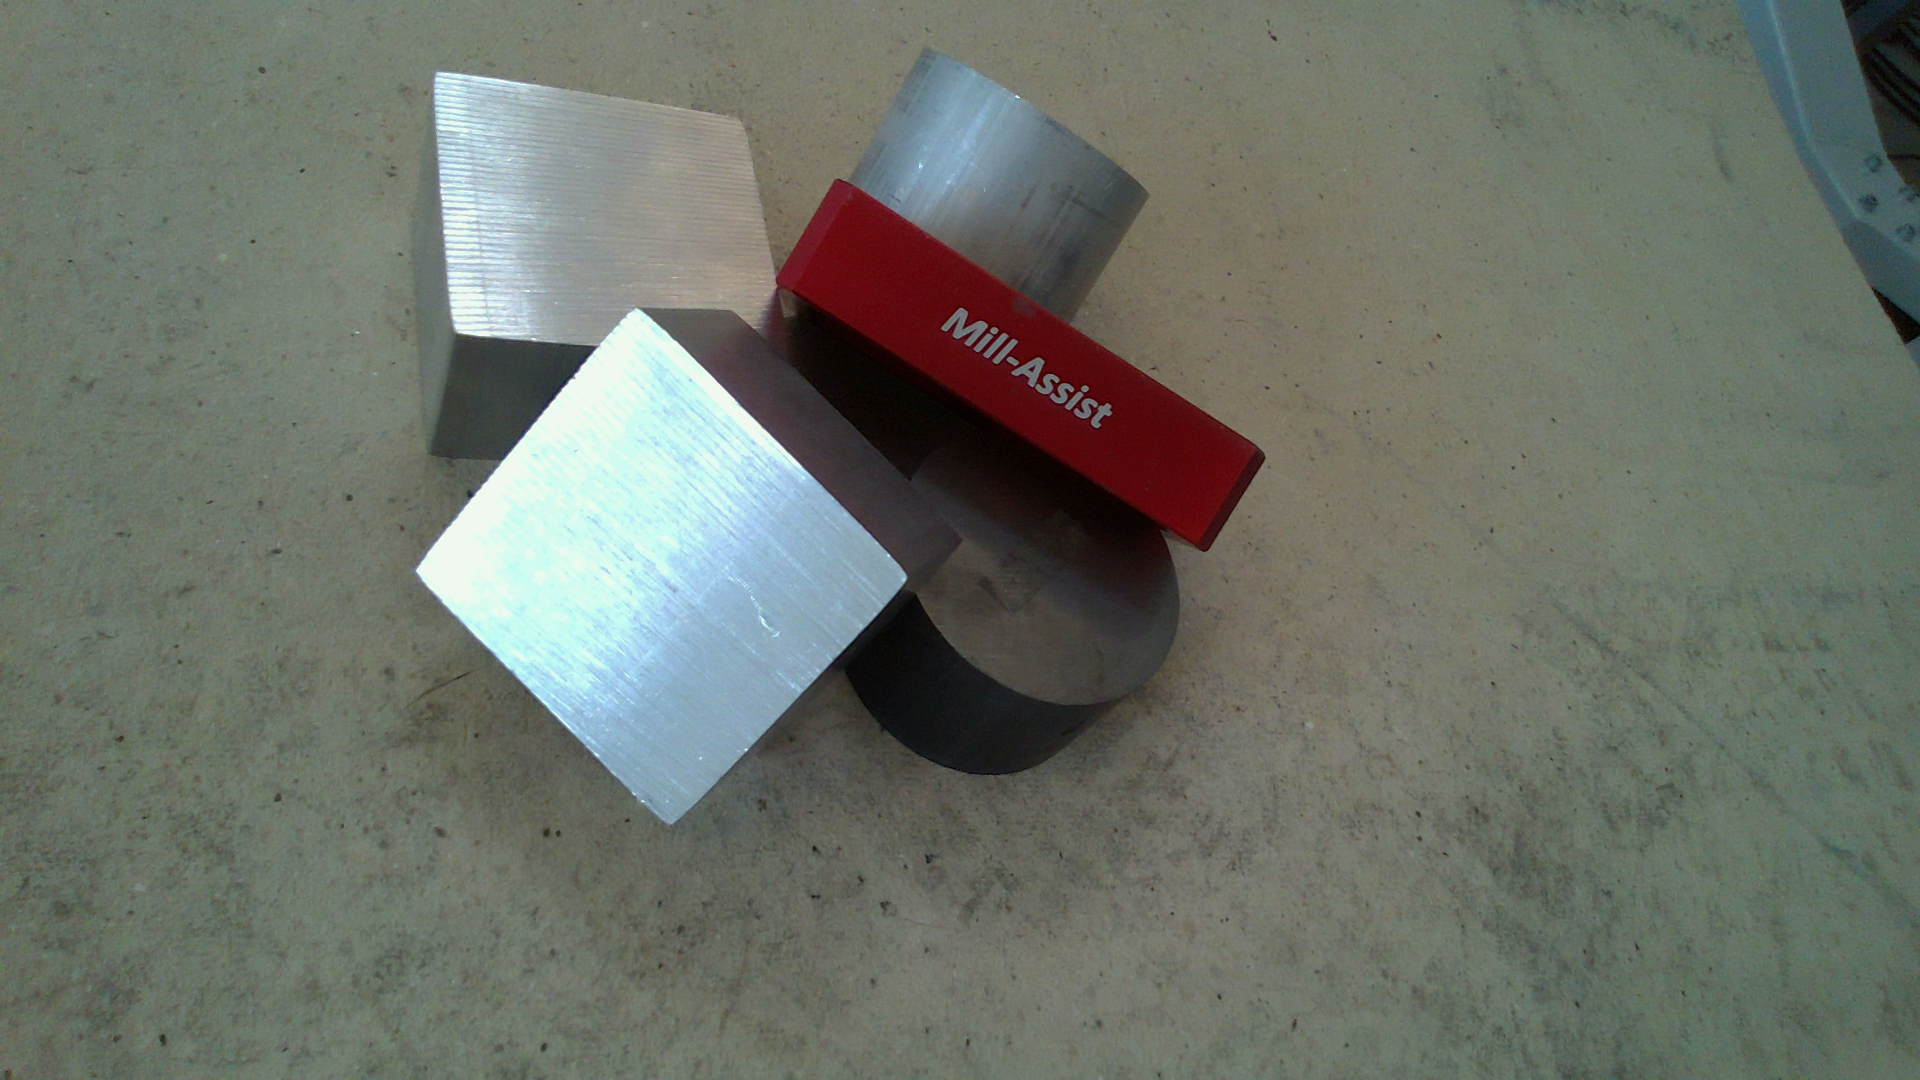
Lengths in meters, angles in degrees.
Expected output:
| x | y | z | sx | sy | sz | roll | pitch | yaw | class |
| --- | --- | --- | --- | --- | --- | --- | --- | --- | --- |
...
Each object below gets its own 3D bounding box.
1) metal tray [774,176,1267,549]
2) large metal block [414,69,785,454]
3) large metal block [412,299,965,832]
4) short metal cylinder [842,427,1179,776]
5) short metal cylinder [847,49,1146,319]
| x | y | z | sx | sy | sz | roll | pitch | yaw | class |
| --- | --- | --- | --- | --- | --- | --- | --- | --- | --- |
| 0.013 | -0.047 | 0.385 | 0.130 | 0.090 | 0.030 | 31 | 91 | -8 | metal tray |
| -0.097 | -0.069 | 0.361 | 0.080 | 0.050 | 0.080 | 1 | 61 | -28 | large metal block |
| -0.059 | 0.003 | 0.312 | 0.080 | 0.080 | 0.050 | 45 | 15 | 3 | large metal block |
| 0.011 | 0.017 | 0.371 | 0.080 | 0.050 | 0.080 | 14 | 56 | -21 | short metal cylinder |
| 0.009 | -0.104 | 0.417 | 0.080 | 0.050 | 0.080 | 31 | 11 | -6 | short metal cylinder |
